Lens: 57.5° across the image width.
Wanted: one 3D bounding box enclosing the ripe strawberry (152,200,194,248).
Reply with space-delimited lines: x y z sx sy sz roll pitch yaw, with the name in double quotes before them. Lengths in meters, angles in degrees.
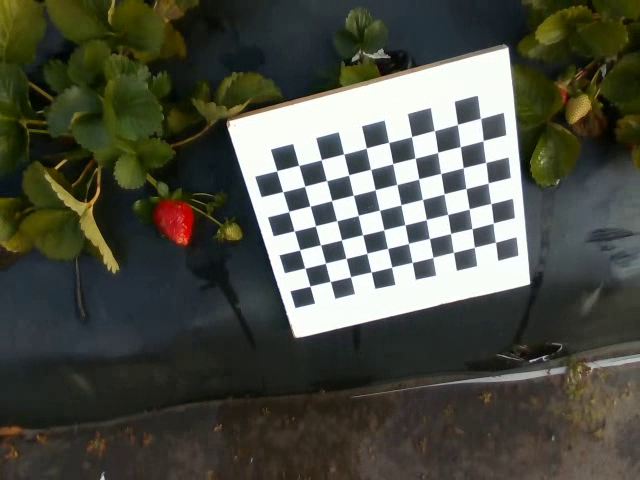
"ripe strawberry" -0.157 -0.015 0.637 0.043 0.057 0.052 -36 -39 17
